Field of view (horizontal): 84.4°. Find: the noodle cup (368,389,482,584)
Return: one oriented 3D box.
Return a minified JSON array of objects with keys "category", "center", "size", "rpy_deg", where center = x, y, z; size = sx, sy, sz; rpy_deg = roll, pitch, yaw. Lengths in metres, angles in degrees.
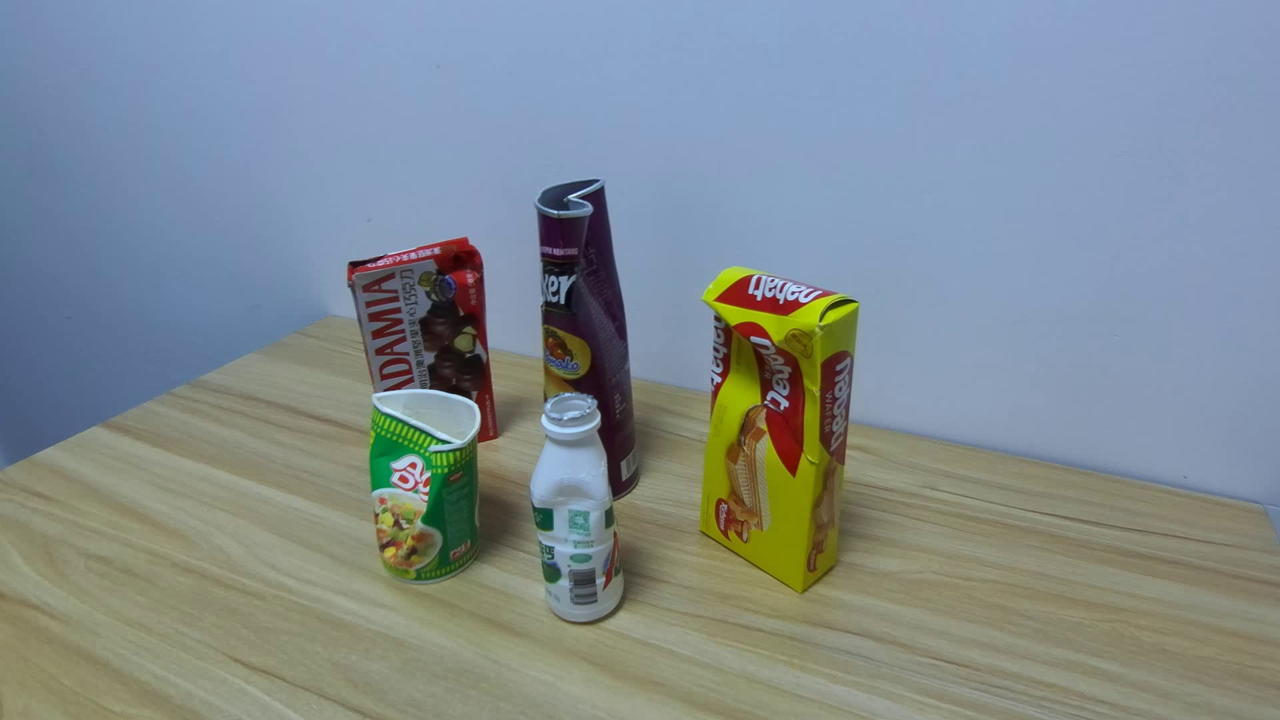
[{"category":"noodle cup","center":[-0.148,0.089,0.487],"size":[0.075,0.122,0.082],"rpy_deg":[0,18,-16]}]

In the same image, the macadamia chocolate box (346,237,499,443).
[{"category":"macadamia chocolate box","center":[-0.174,-0.006,0.588],"size":[0.103,0.187,0.027],"rpy_deg":[-12,33,-19]}]

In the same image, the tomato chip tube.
[{"category":"tomato chip tube","center":[-0.039,-0.008,0.533],"size":[0.078,0.235,0.076],"rpy_deg":[-17,30,-29]}]

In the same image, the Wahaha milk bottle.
[{"category":"Wahaha milk bottle","center":[-0.039,0.091,0.434],"size":[0.055,0.149,0.055],"rpy_deg":[-3,28,2]}]

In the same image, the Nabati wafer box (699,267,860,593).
[{"category":"Nabati wafer box","center":[0.082,0.043,0.457],"size":[0.042,0.204,0.106],"rpy_deg":[-26,36,-36]}]
